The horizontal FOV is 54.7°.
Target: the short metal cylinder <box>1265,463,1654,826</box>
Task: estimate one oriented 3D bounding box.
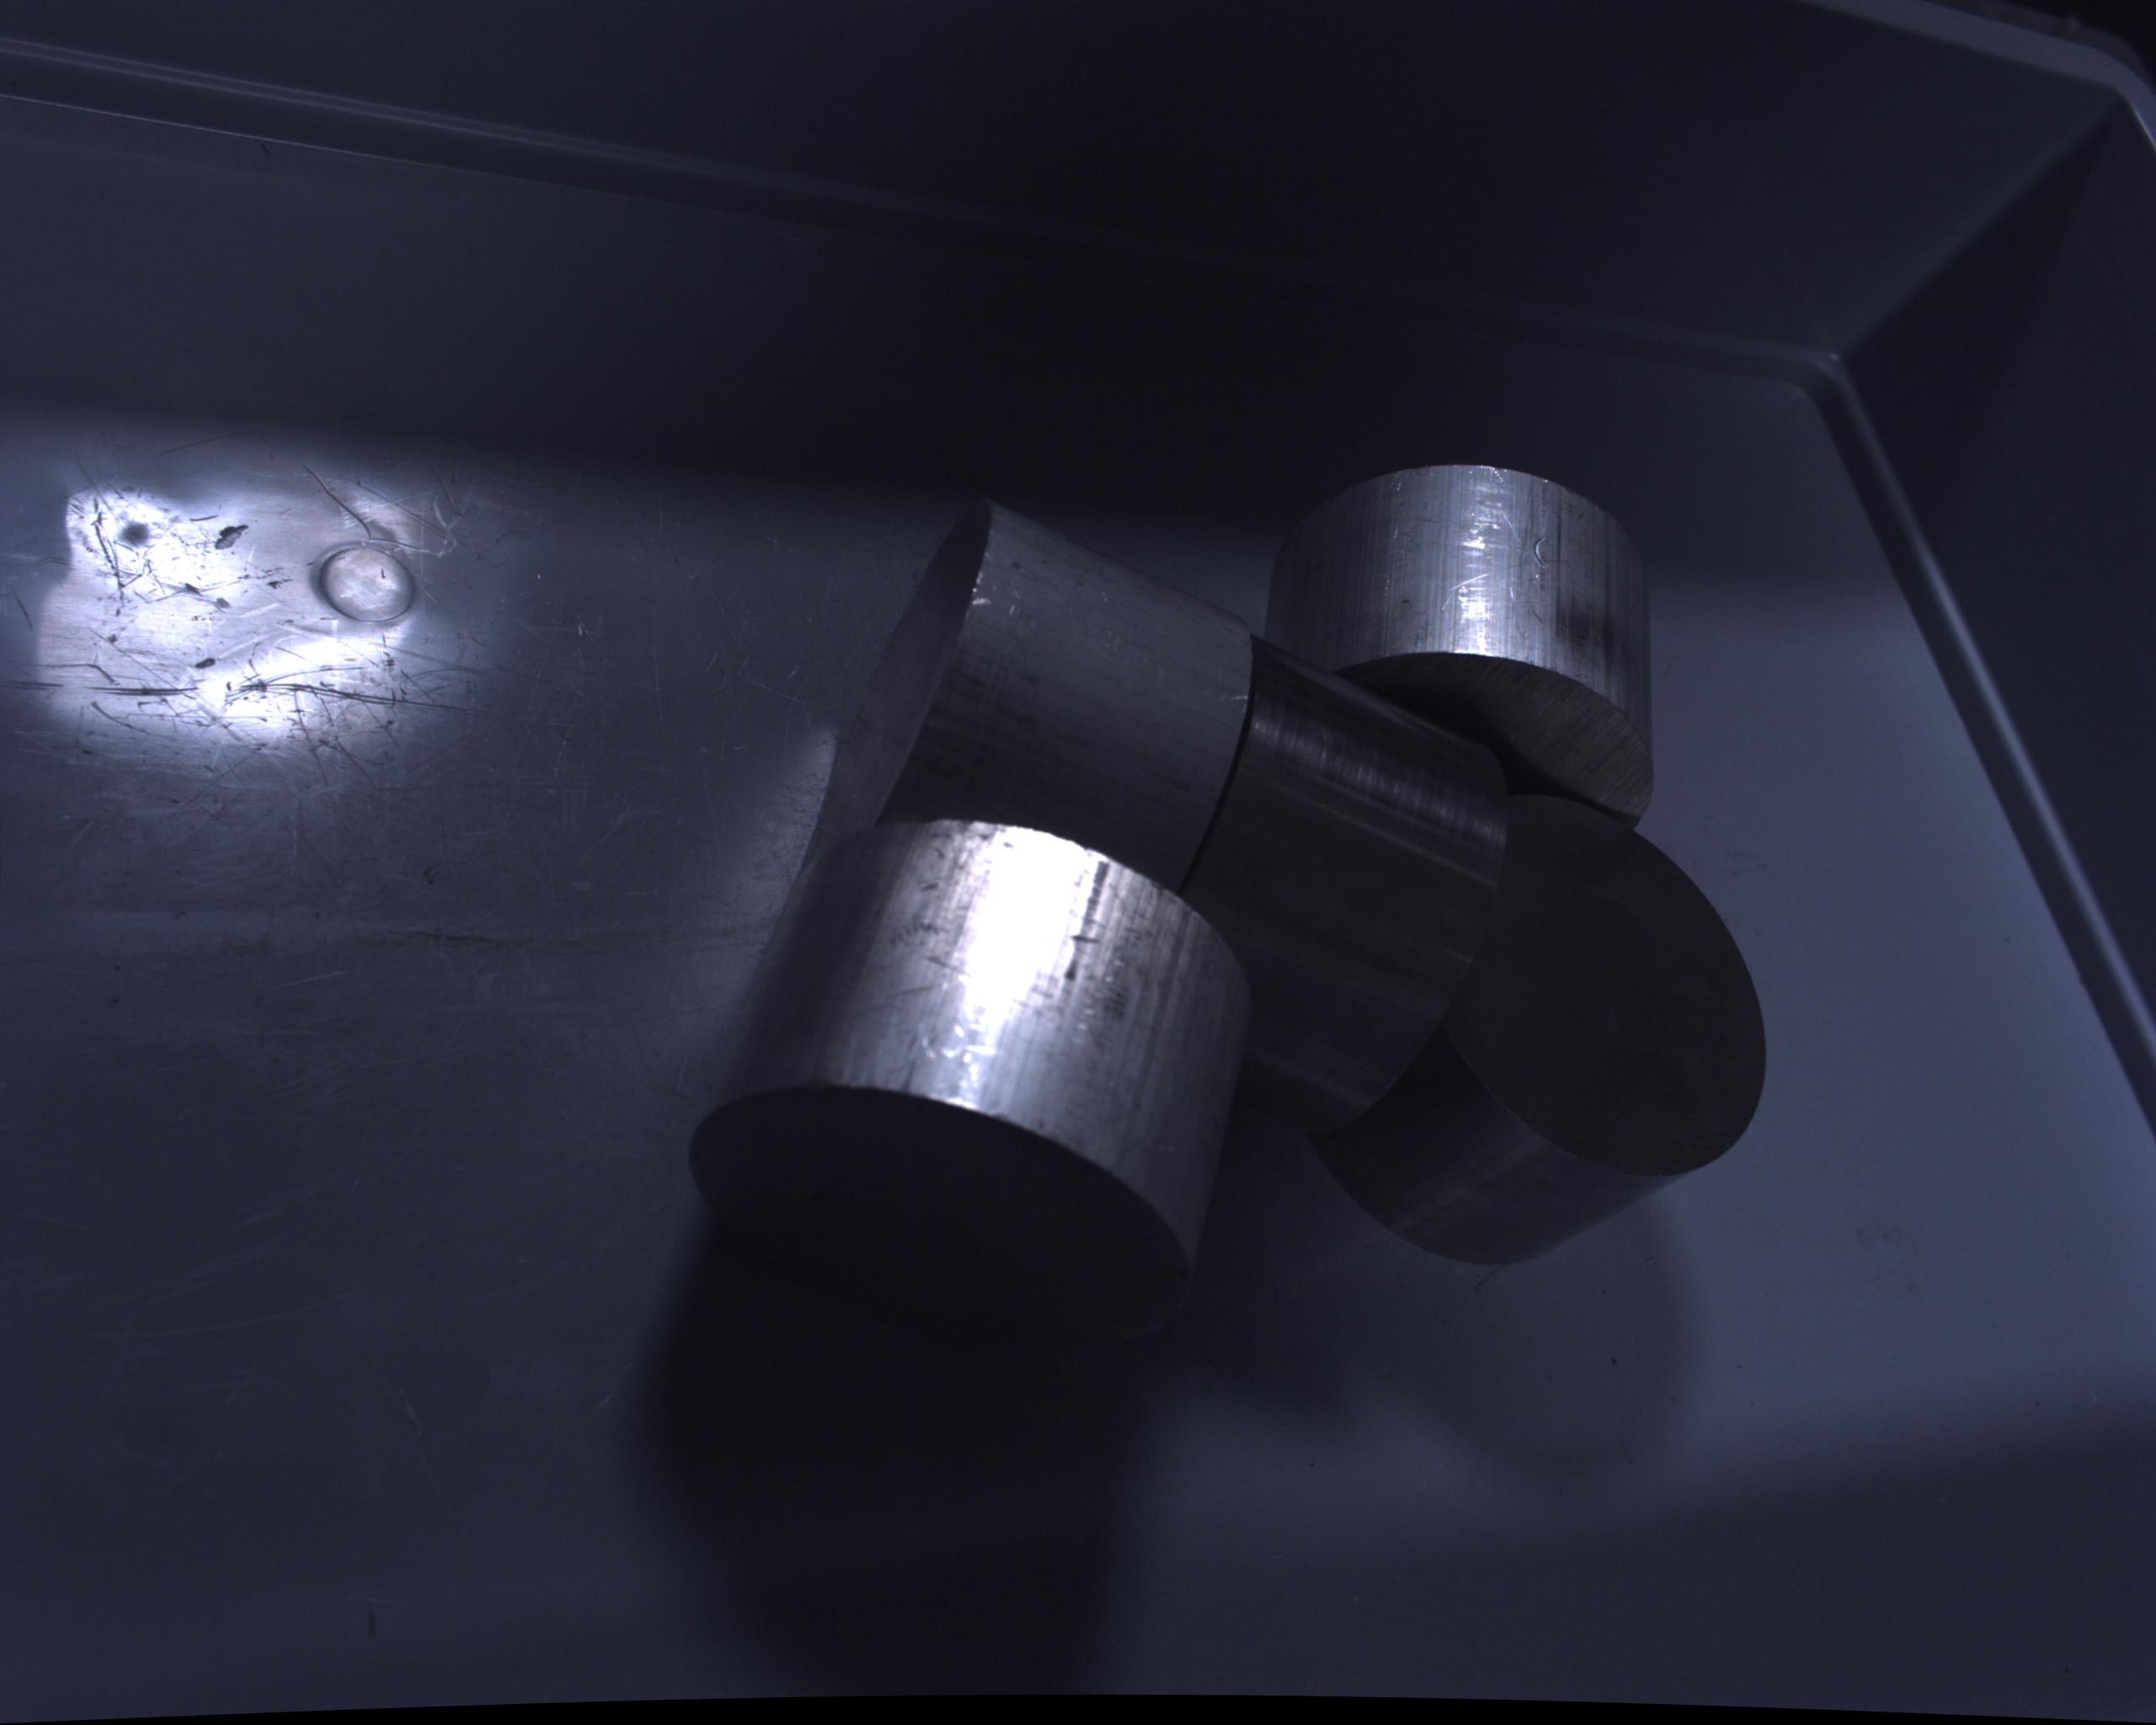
[{"bbox_3d":[0.078,-0.037,0.434,0.080,0.080,0.050,21,54,-16],"label":"short metal cylinder"}]

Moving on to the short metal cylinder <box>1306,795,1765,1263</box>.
[{"bbox_3d":[0.088,0.033,0.416,0.081,0.050,0.080,14,56,-21],"label":"short metal cylinder"}]

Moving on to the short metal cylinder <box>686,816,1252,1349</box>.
[{"bbox_3d":[-0.016,0.037,0.338,0.080,0.080,0.050,26,53,-13],"label":"short metal cylinder"}]

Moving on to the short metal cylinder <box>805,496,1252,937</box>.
[{"bbox_3d":[-0.011,-0.019,0.375,0.050,0.080,0.080,23,53,-15],"label":"short metal cylinder"}]

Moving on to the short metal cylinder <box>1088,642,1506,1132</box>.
[{"bbox_3d":[0.035,0.004,0.387,0.050,0.080,0.080,24,53,-14],"label":"short metal cylinder"}]
